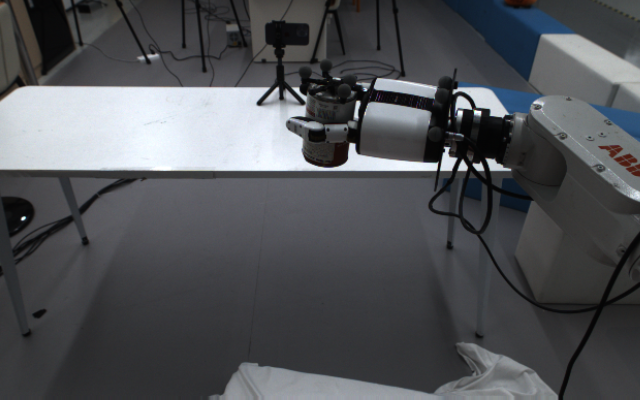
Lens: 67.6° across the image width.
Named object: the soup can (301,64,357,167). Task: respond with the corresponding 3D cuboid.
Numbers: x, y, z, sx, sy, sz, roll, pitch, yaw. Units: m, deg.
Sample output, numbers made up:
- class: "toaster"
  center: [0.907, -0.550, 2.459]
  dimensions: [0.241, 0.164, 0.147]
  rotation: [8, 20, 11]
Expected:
- class: "soup can"
  center: [0.012, -0.105, 0.664]
  dimensions: [0.067, 0.101, 0.067]
  rotation: [5, 37, -4]
